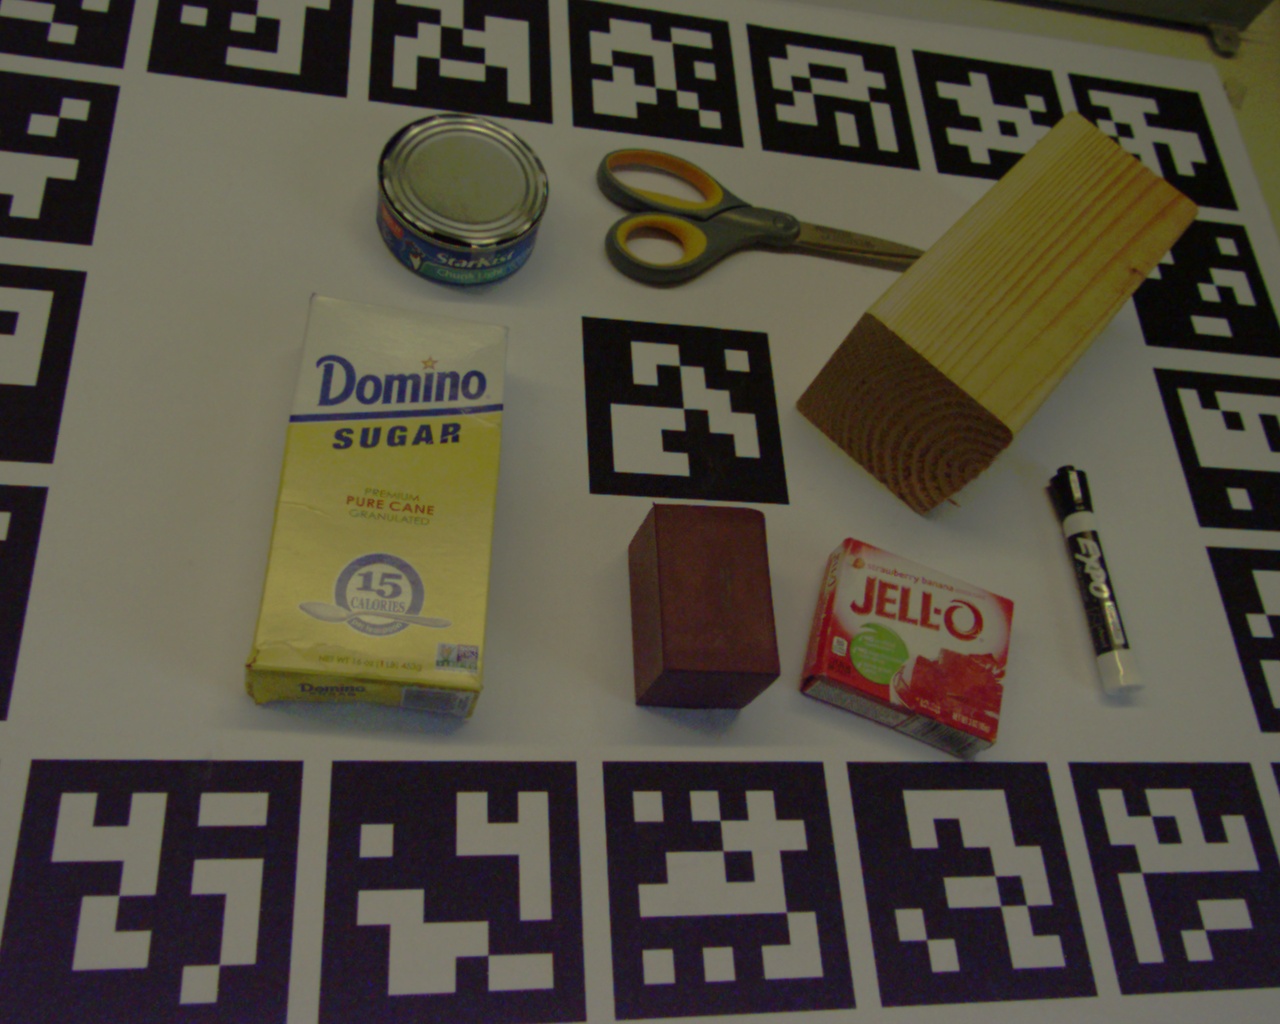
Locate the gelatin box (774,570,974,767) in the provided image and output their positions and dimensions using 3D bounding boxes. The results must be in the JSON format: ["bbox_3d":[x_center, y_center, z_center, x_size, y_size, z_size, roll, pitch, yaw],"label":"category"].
[{"bbox_3d":[0.118,0.079,0.576,0.089,0.030,0.073,20,64,-4],"label":"gelatin box"}]

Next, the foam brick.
[{"bbox_3d":[0.021,0.059,0.545,0.052,0.051,0.078,4,66,-12],"label":"foam brick"}]

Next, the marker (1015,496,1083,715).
[{"bbox_3d":[0.221,0.048,0.619,0.019,0.020,0.121,4,68,-13],"label":"marker"}]

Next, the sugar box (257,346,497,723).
[{"bbox_3d":[-0.121,0.009,0.542,0.092,0.045,0.177,7,65,-12],"label":"sugar box"}]

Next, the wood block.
[{"bbox_3d":[0.185,-0.089,0.638,0.090,0.091,0.205,42,63,7],"label":"wood block"}]

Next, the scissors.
[{"bbox_3d":[0.060,-0.139,0.669,0.202,0.016,0.088,9,65,-7],"label":"scissors"}]

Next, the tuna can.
[{"bbox_3d":[-0.104,-0.145,0.617,0.085,0.034,0.086,5,66,-12],"label":"tuna can"}]
